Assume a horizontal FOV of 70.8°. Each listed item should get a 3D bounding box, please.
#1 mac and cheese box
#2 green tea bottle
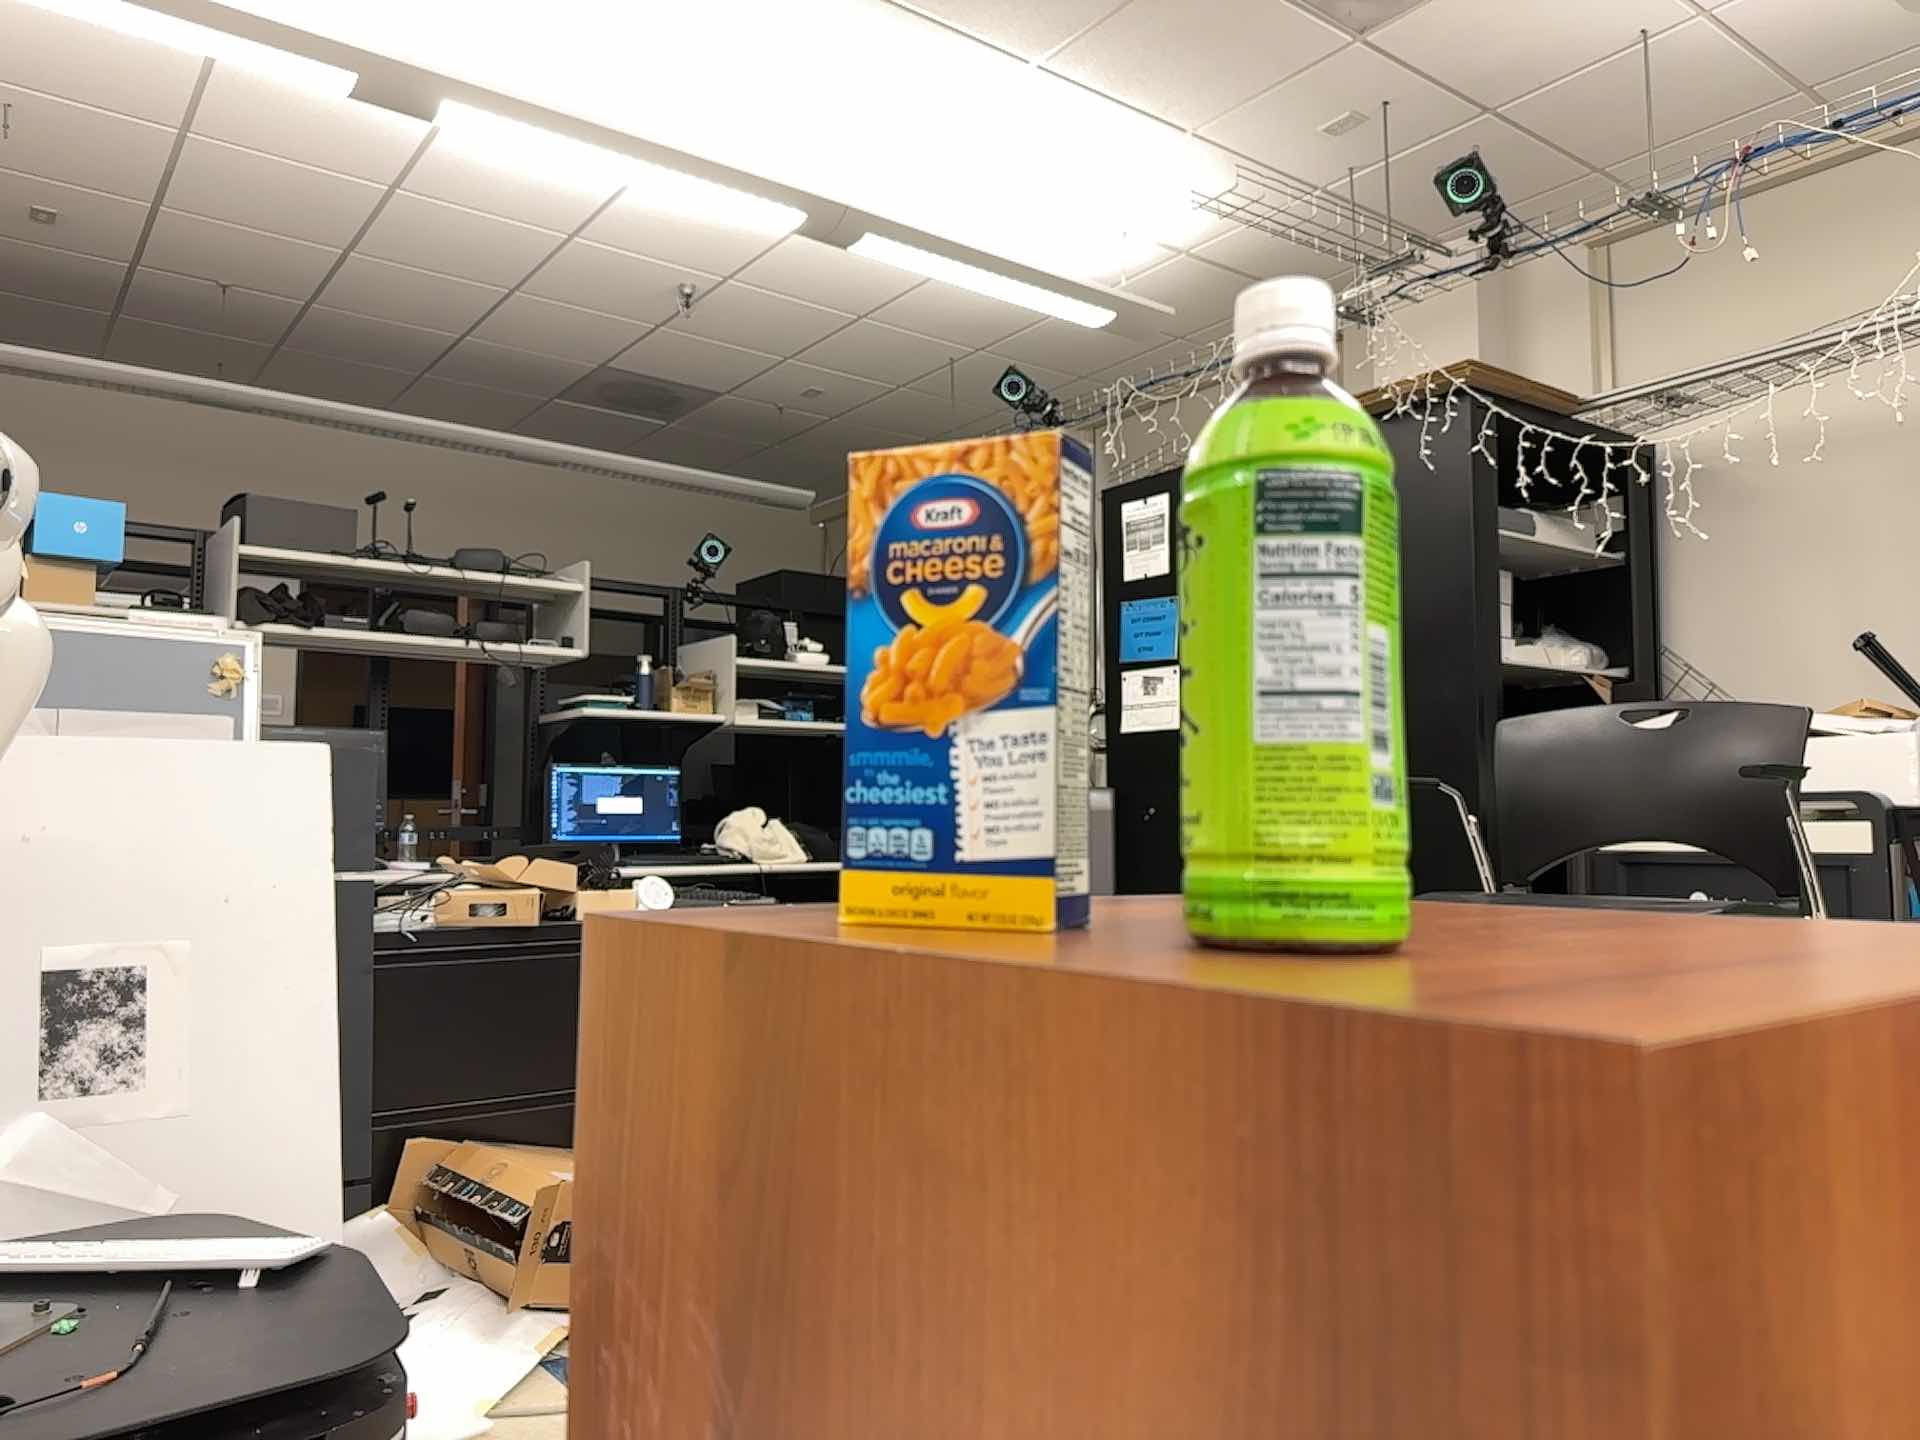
[{"bbox_3d":[0.003,-0.014,0.519,0.088,0.181,0.035,-4,-8,29],"label":"mac and cheese box"},{"bbox_3d":[0.104,-0.040,0.433,0.073,0.212,0.073,3,-6,0],"label":"green tea bottle"}]
